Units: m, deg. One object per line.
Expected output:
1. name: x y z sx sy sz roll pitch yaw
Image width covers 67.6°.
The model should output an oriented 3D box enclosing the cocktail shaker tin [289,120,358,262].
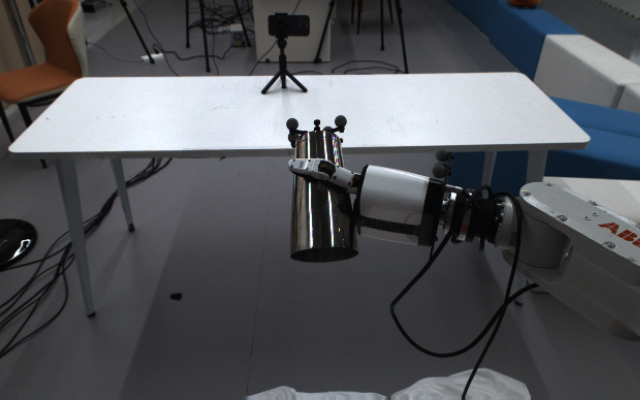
1. cocktail shaker tin: 0.000 -0.006 0.671 0.093 0.093 0.170 -2 70 -5
